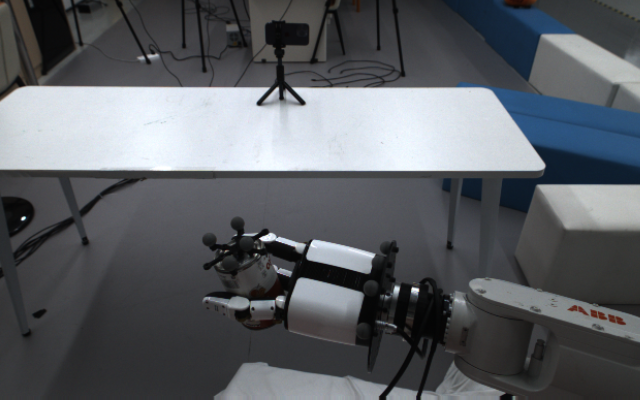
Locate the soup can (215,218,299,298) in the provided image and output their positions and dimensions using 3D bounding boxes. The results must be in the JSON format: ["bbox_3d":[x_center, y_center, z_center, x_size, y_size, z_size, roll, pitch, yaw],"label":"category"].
[{"bbox_3d":[-0.084,0.106,0.612,0.067,0.101,0.067,-13,31,8],"label":"soup can"}]
